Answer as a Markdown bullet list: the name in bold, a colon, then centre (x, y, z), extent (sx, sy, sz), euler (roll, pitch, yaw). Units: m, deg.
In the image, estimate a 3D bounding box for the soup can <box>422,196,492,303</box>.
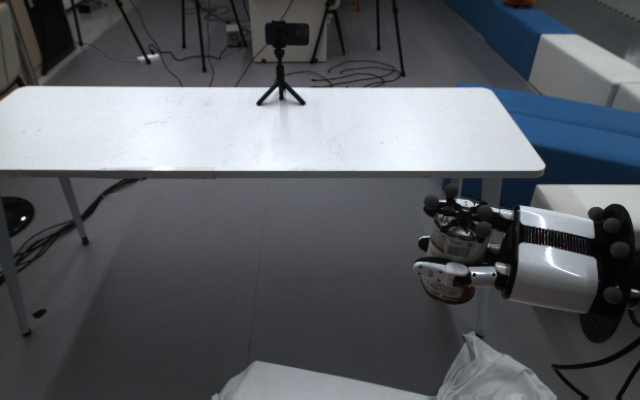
- **soup can**: centre (0.165, 0.065, 0.588), extent (0.067, 0.101, 0.067), euler (2, 32, -1)
